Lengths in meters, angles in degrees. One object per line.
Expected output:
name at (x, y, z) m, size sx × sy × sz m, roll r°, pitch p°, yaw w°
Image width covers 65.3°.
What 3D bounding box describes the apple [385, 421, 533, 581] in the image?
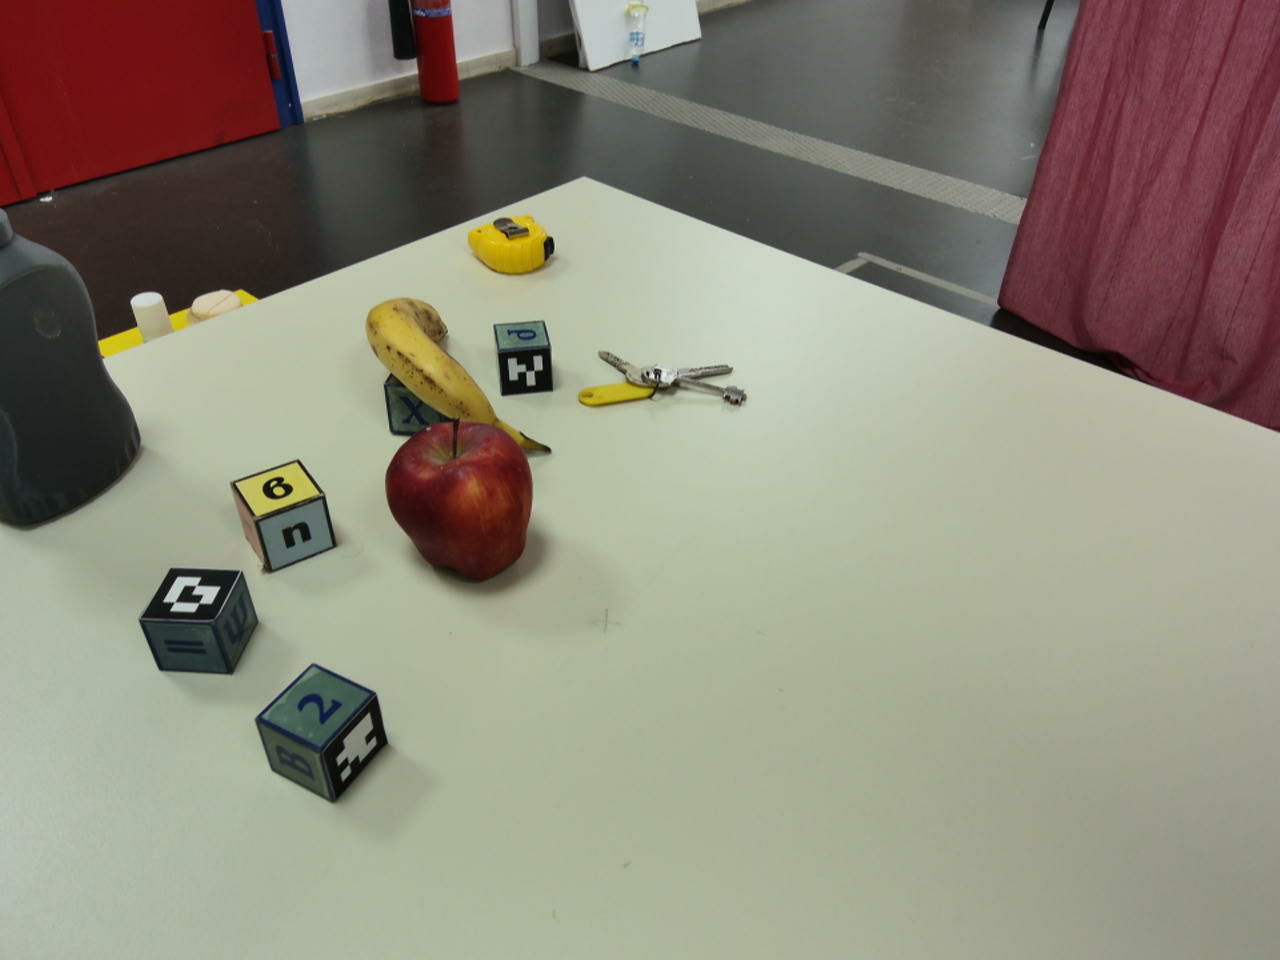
apple at (-0.098, 0.006, 0.548) m, size 0.083 × 0.090 × 0.083 m, roll 1°, pitch 37°, yaw -1°
